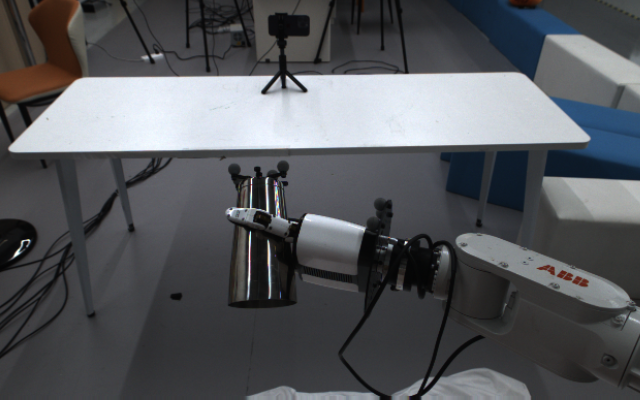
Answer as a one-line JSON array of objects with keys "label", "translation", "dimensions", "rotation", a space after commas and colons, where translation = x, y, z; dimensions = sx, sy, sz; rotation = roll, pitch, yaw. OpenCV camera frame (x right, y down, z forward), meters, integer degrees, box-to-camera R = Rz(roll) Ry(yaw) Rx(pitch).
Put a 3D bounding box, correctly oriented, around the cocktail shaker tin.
[{"label": "cocktail shaker tin", "translation": [-0.081, 0.059, 0.669], "dimensions": [0.093, 0.093, 0.170], "rotation": [-2, 71, -6]}]
